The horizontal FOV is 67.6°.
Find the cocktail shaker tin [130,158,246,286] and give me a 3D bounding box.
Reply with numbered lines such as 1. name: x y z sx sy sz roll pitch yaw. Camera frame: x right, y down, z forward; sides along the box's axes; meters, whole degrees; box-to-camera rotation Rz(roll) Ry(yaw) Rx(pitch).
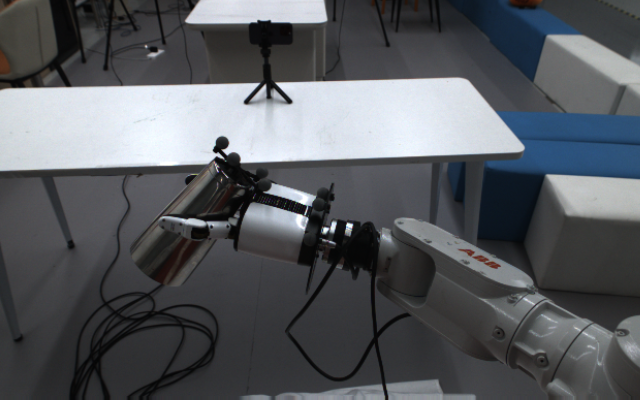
1. cocktail shaker tin: -0.171 0.026 0.664 0.093 0.170 0.093 41 13 -12
